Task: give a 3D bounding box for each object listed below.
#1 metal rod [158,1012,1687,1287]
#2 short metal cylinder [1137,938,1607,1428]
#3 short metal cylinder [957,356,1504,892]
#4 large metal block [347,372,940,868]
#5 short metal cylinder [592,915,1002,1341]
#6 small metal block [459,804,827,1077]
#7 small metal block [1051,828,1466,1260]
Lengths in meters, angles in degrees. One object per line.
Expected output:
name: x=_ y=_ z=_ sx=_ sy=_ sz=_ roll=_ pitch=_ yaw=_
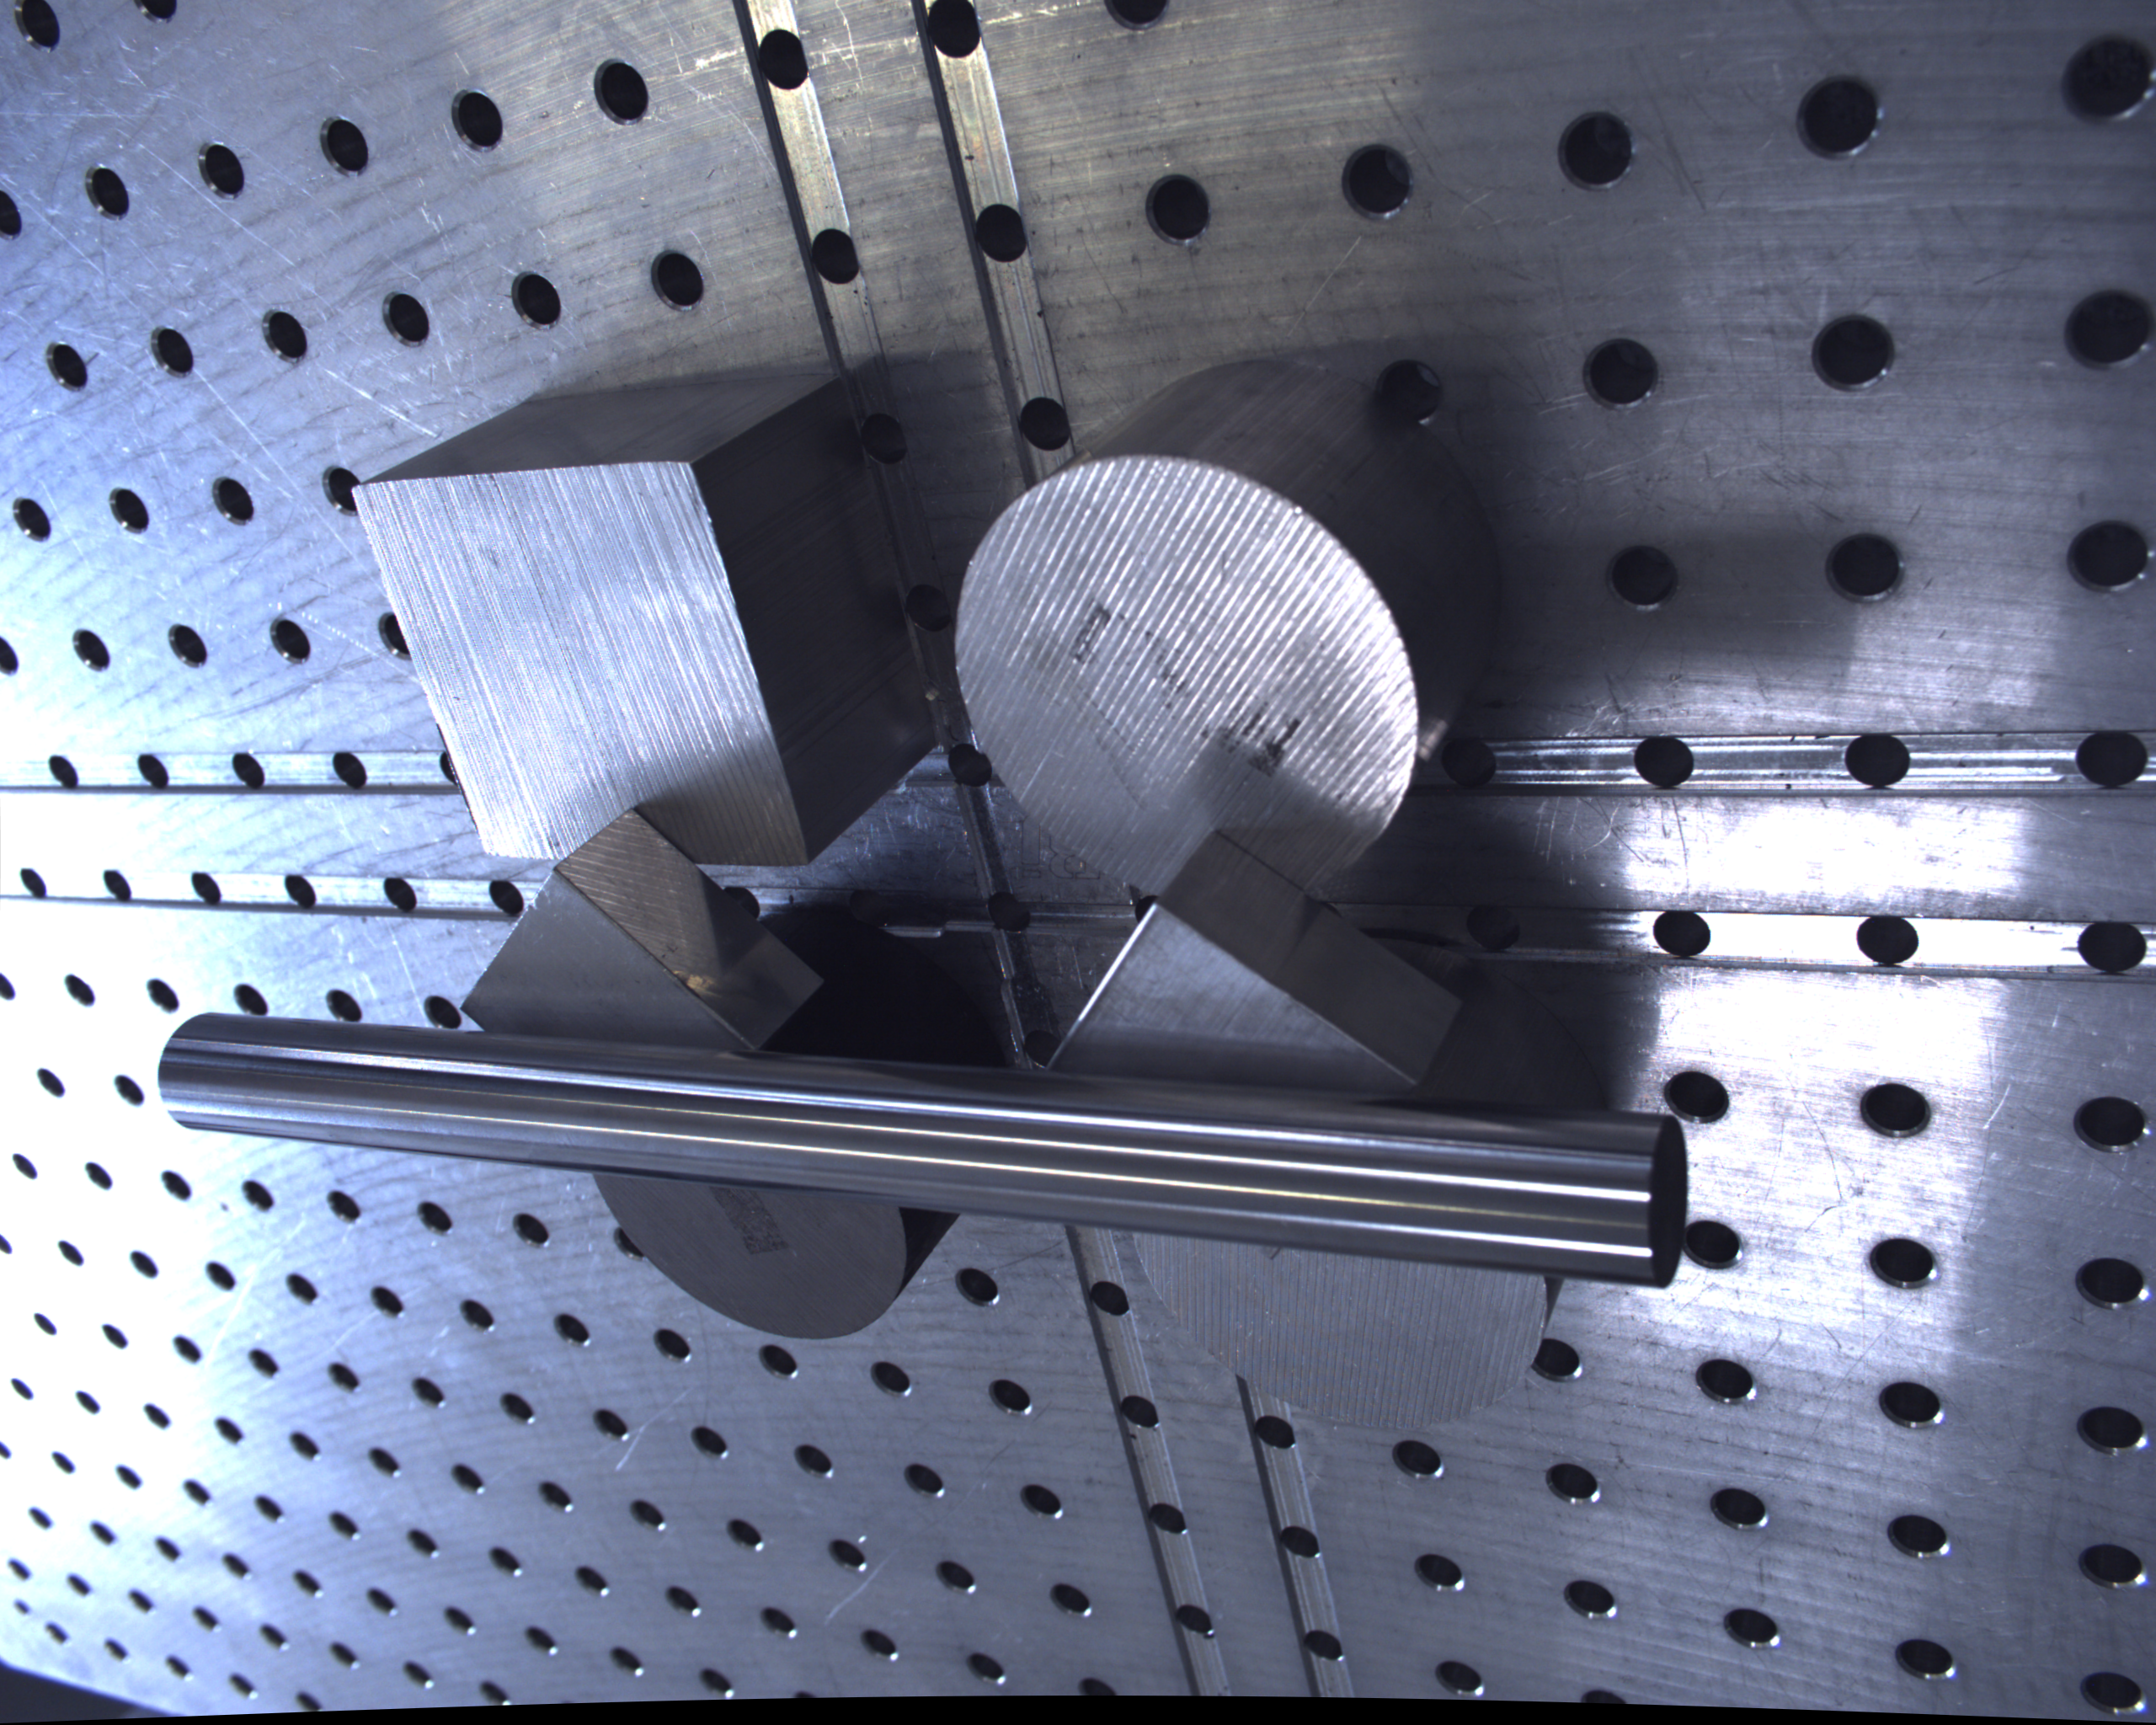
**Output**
metal rod: x=-0.049 y=0.046 z=0.368 sx=0.300 sy=0.025 sz=0.025 roll=1 pitch=119 yaw=27
short metal cylinder: x=0.057 y=0.061 z=0.403 sx=0.080 sy=0.050 sz=0.079 roll=13 pitch=124 yaw=21
short metal cylinder: x=0.027 y=-0.040 z=0.356 sx=0.080 sy=0.050 sz=0.079 roll=13 pitch=124 yaw=21
large metal block: x=-0.083 y=-0.047 z=0.409 sx=0.080 sy=0.050 sz=0.080 roll=1 pitch=119 yaw=27
short metal cylinder: x=-0.062 y=0.058 z=0.463 sx=0.080 sy=0.050 sz=0.079 roll=13 pitch=124 yaw=21
small metal block: x=-0.086 y=0.025 z=0.408 sx=0.050 sy=0.025 sz=0.050 roll=42 pitch=129 yaw=-1
small metal block: x=0.028 y=0.031 z=0.351 sx=0.050 sy=0.025 sz=0.050 roll=35 pitch=129 yaw=5
